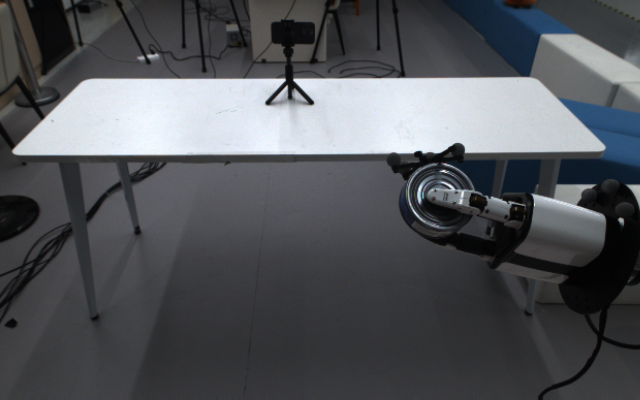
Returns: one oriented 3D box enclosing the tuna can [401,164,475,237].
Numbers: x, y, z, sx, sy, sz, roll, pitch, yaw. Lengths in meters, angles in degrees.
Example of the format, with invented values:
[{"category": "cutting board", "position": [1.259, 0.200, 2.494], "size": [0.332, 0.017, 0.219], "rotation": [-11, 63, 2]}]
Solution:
[{"category": "tuna can", "position": [0.143, 0.006, 0.568], "size": [0.085, 0.034, 0.085], "rotation": [0, 72, -2]}]
